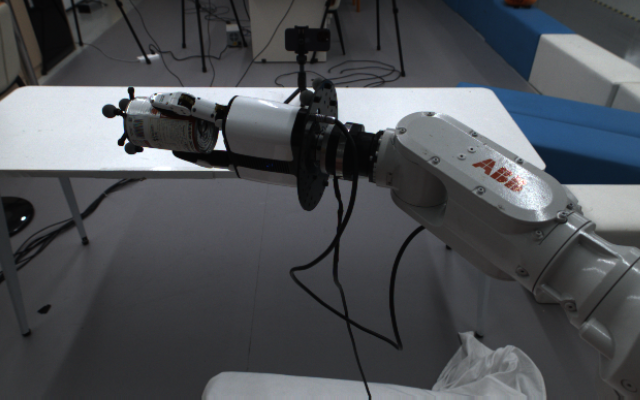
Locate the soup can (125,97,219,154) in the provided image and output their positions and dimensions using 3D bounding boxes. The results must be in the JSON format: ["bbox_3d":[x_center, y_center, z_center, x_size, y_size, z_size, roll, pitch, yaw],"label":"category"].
[{"bbox_3d":[-0.192,-0.098,0.633,0.101,0.067,0.067,7,35,10],"label":"soup can"}]
